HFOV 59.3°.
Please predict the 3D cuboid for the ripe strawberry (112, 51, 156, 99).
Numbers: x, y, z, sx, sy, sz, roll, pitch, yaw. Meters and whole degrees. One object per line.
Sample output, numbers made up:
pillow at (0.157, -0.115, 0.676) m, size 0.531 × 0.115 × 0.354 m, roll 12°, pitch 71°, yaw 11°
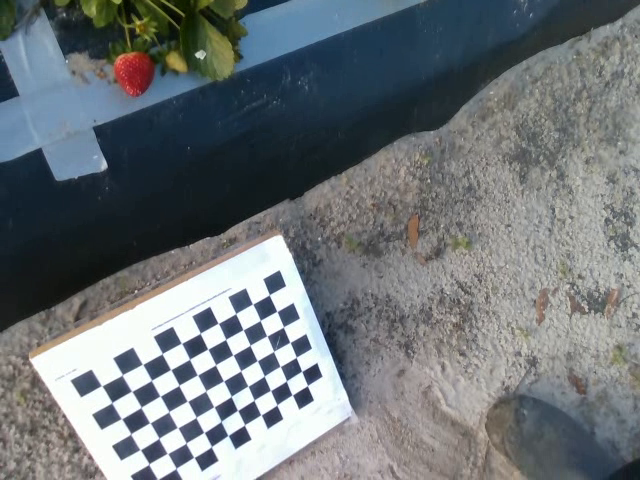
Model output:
ripe strawberry at (-0.090, -0.080, 0.268) m, size 0.023 × 0.026 × 0.021 m, roll -13°, pitch -26°, yaw 3°
